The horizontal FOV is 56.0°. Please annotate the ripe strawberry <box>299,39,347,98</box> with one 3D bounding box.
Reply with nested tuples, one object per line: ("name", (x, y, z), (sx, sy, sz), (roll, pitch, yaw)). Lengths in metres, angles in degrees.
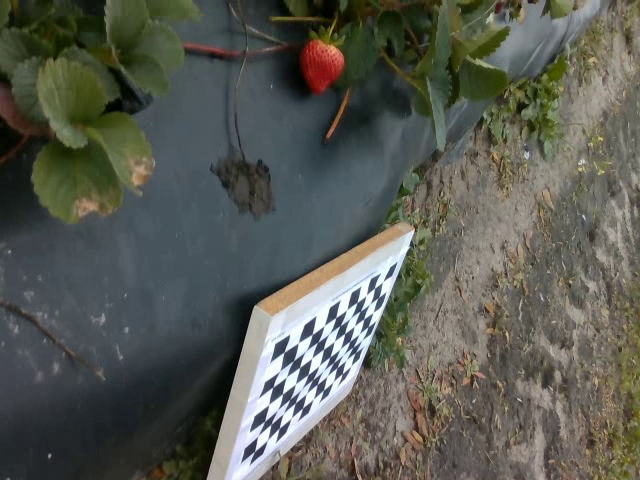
("ripe strawberry", (0.004, -0.185, 0.652), (0.049, 0.065, 0.061), (24, 18, 23))
